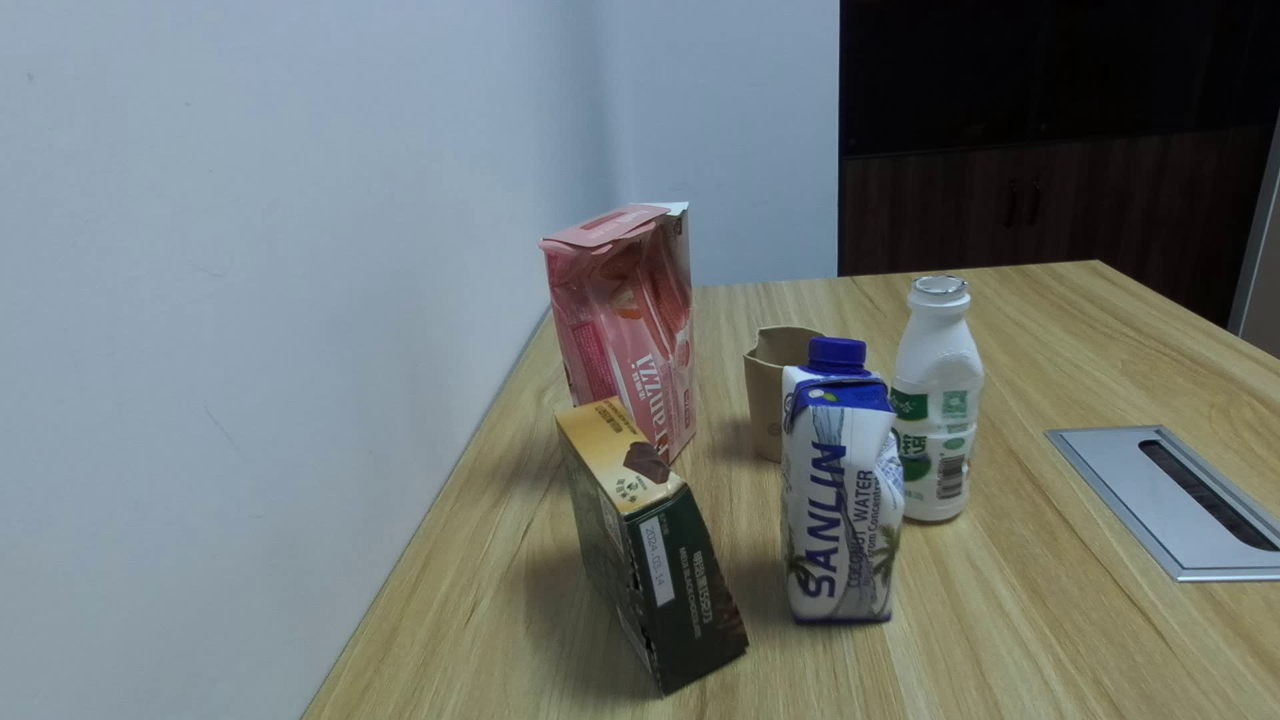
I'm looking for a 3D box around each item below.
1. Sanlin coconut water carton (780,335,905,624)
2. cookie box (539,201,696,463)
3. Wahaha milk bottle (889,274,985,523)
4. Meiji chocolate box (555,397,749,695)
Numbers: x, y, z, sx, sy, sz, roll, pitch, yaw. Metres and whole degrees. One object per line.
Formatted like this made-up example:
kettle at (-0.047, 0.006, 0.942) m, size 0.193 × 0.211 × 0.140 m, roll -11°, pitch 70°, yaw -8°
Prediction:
Sanlin coconut water carton at (0.104, 0.062, 0.362) m, size 0.060 × 0.144 × 0.070 m, roll -2°, pitch 22°, yaw 6°
cookie box at (-0.004, -0.008, 0.498) m, size 0.055 × 0.184 × 0.119 m, roll 9°, pitch 28°, yaw 32°
Wahaha milk bottle at (0.174, 0.024, 0.427) m, size 0.055 × 0.149 × 0.055 m, roll -6°, pitch 24°, yaw 3°
Meiji chocolate box at (0.005, 0.089, 0.369) m, size 0.058 × 0.111 × 0.113 m, roll -19°, pitch 25°, yaw -17°
